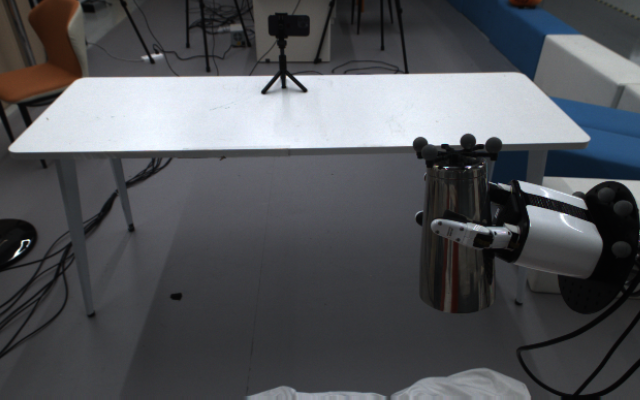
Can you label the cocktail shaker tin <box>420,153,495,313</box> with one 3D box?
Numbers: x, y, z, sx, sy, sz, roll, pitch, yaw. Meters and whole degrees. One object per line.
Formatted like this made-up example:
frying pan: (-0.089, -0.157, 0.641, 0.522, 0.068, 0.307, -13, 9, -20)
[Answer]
cocktail shaker tin: (0.163, 0.036, 0.573, 0.093, 0.170, 0.093, -6, 19, 2)
